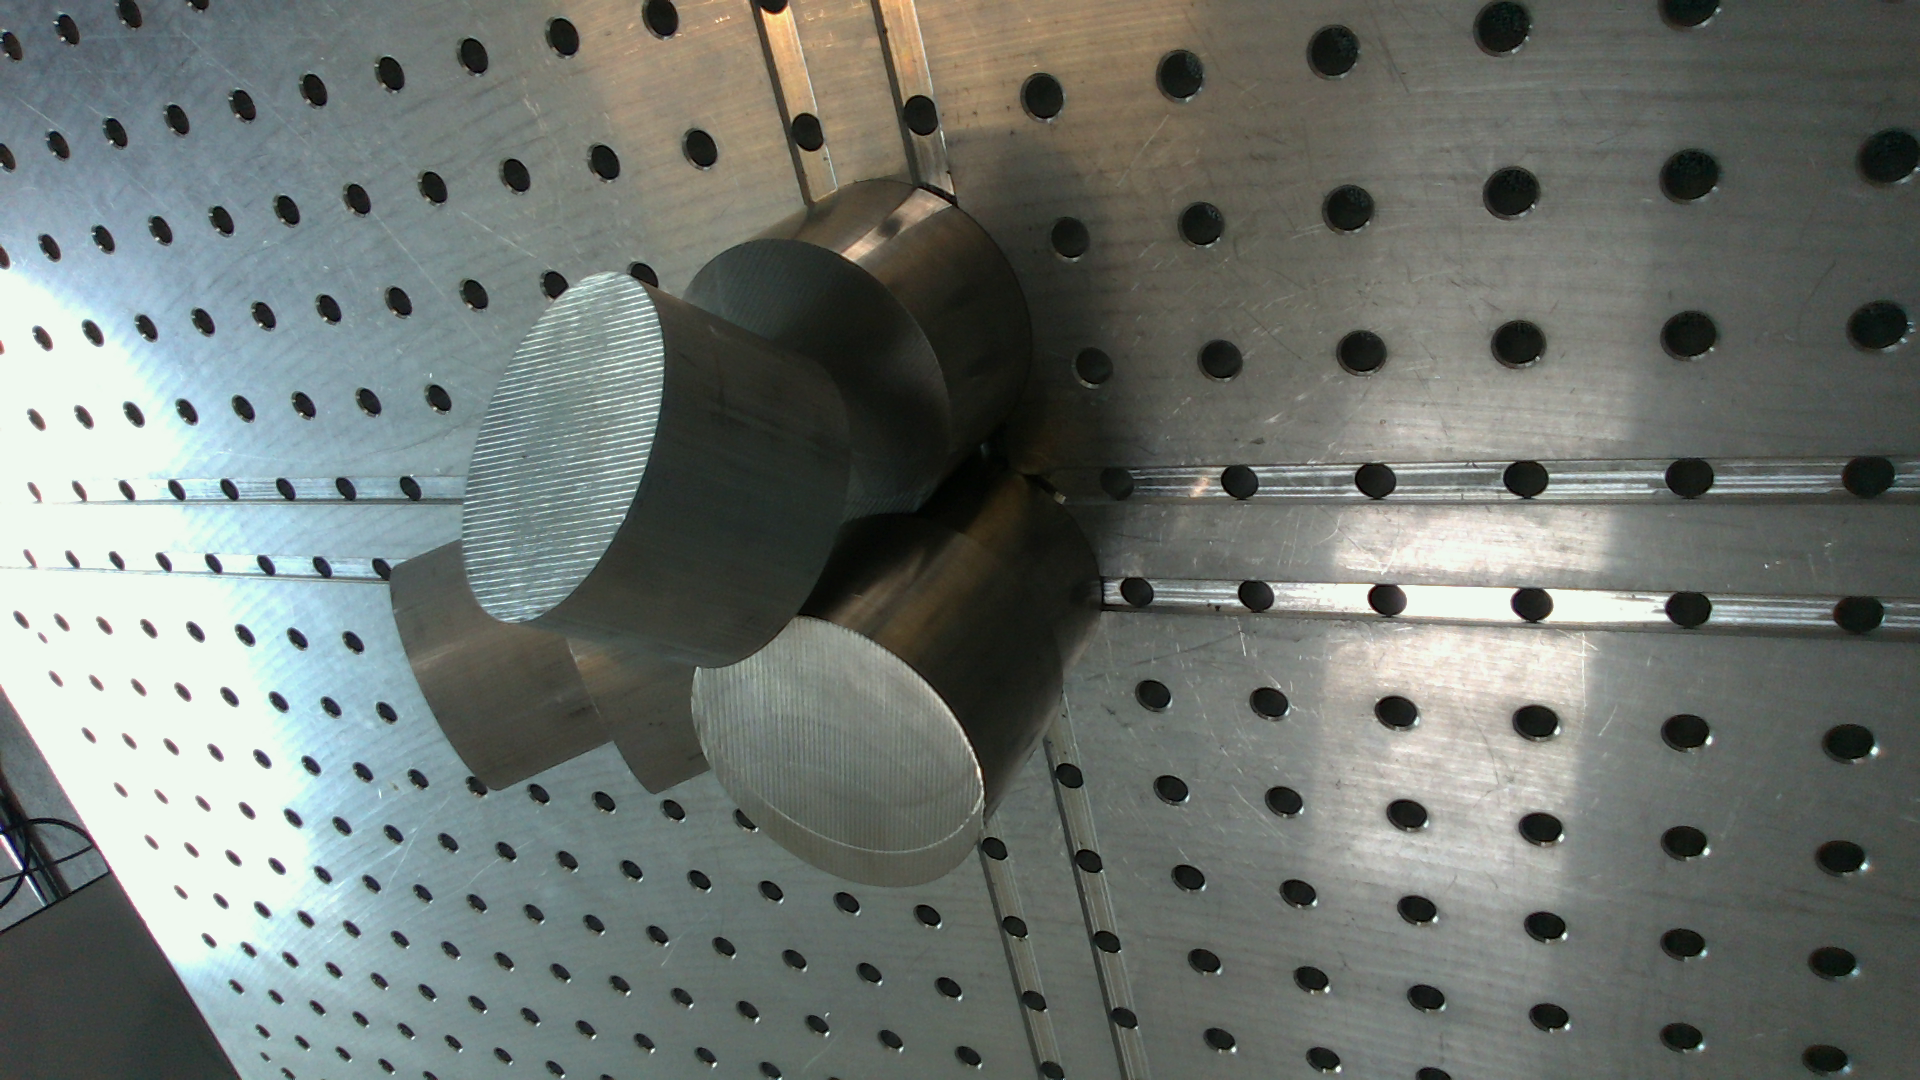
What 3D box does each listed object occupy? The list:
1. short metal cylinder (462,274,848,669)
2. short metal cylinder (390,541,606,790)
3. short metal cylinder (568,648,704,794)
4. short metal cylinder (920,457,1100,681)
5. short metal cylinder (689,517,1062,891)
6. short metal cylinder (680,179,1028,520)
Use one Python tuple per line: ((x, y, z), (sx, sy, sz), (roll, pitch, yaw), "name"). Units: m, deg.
((-0.071, -0.014, 0.316), (0.080, 0.080, 0.050), (-27, 147, 37), "short metal cylinder")
((-0.142, 0.034, 0.449), (0.050, 0.080, 0.080), (-24, 111, -7), "short metal cylinder")
((-0.084, 0.029, 0.414), (0.050, 0.080, 0.080), (-23, 111, -7), "short metal cylinder")
((-0.006, 0.022, 0.396), (0.080, 0.050, 0.080), (13, 124, 21), "short metal cylinder")
((-0.021, 0.041, 0.349), (0.080, 0.050, 0.080), (13, 124, 21), "short metal cylinder")
((-0.029, -0.049, 0.364), (0.080, 0.050, 0.080), (14, 124, 21), "short metal cylinder")
